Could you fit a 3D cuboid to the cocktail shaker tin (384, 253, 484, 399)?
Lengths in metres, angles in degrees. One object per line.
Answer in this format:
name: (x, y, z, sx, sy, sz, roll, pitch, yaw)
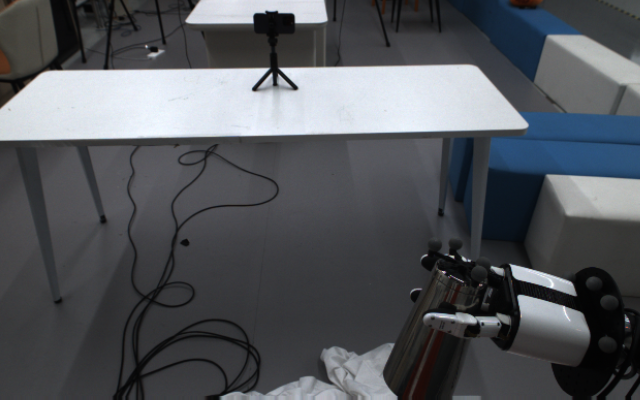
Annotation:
cocktail shaker tin: (0.150, 0.160, 0.609, 0.093, 0.170, 0.093, 14, 18, -5)
